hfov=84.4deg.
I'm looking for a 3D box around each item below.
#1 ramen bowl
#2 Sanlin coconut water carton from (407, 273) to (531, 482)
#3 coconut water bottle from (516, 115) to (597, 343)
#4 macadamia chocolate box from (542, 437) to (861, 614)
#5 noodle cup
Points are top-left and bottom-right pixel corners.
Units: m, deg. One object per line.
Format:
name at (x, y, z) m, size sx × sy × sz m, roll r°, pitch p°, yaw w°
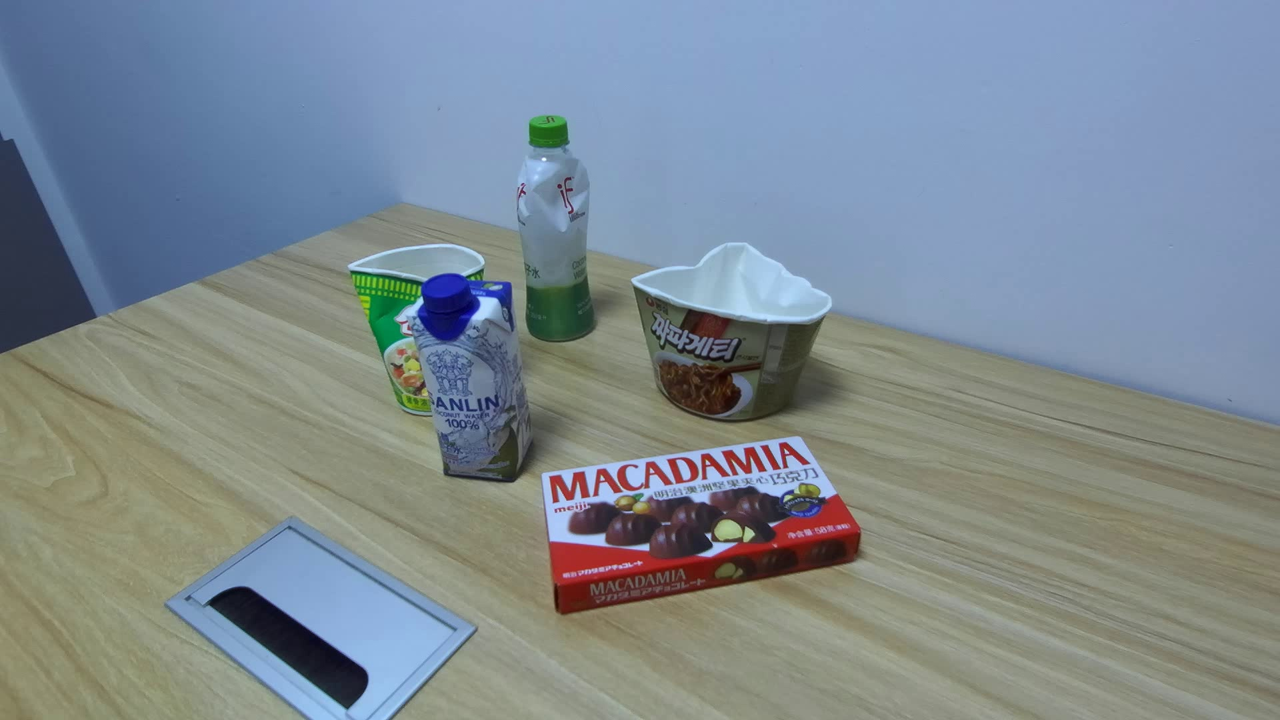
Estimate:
ramen bowl at (0.076, -0.019, 0.542) m, size 0.114 × 0.098 × 0.133 m, roll -26°, pitch 40°, yaw -34°
Sanlin coconut water carton at (-0.109, 0.008, 0.465) m, size 0.060 × 0.144 × 0.061 m, roll 3°, pitch 32°, yaw 9°
coconut water bottle at (-0.074, -0.111, 0.610) m, size 0.067 × 0.187 × 0.067 m, roll 0°, pitch 30°, yaw 0°
macadamia chocolate box at (0.032, 0.096, 0.433) m, size 0.178 × 0.027 × 0.095 m, roll -7°, pitch 32°, yaw -8°
noodle cup at (-0.163, -0.023, 0.557) m, size 0.082 × 0.122 × 0.075 m, roll 16°, pitch 28°, yaw 36°
